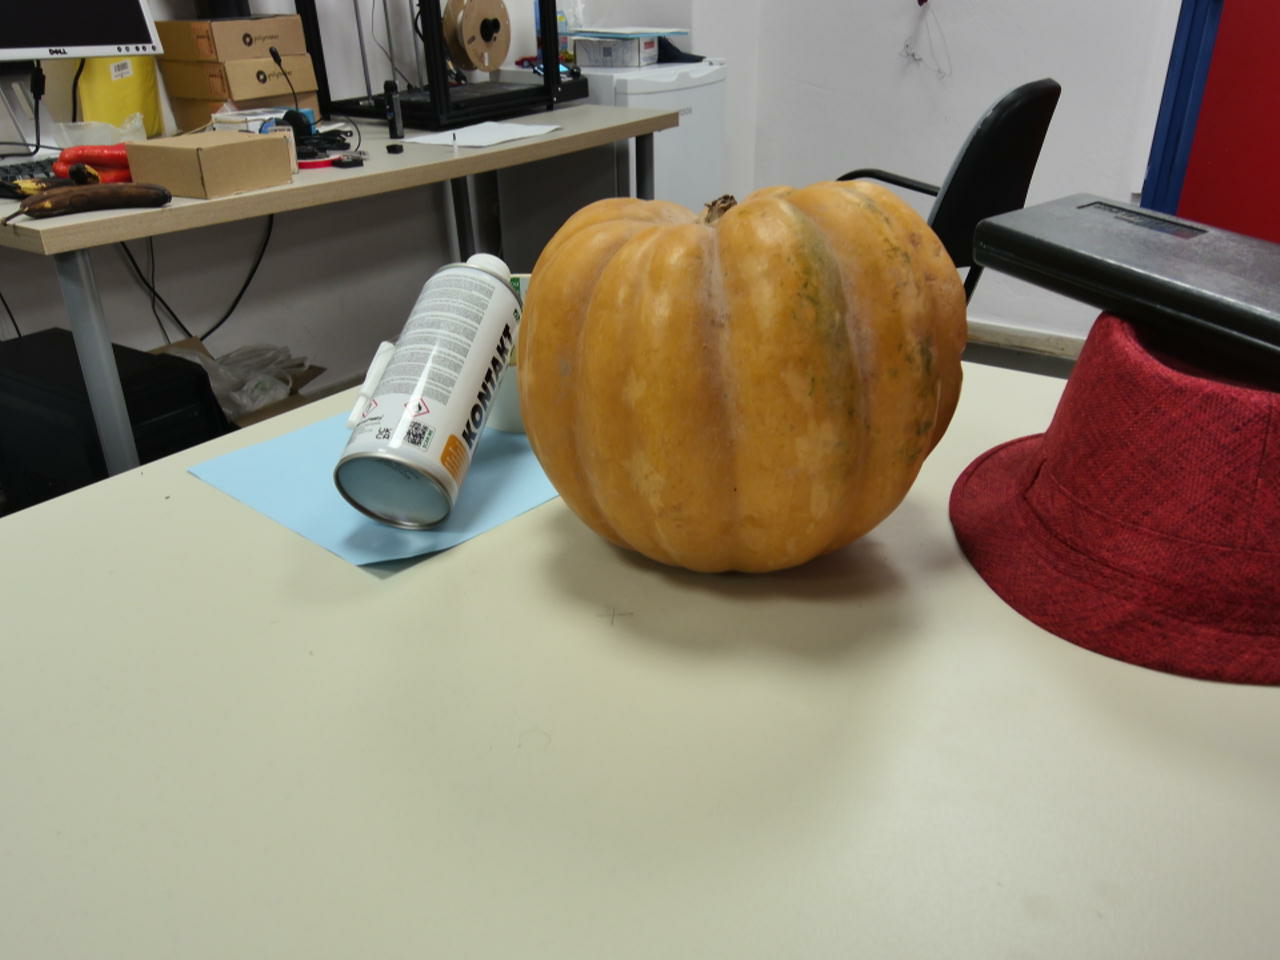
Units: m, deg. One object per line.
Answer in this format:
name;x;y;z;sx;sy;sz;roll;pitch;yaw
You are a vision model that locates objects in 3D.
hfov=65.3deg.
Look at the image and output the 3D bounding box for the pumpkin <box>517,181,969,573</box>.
pumpkin;0.049;-0.056;0.514;0.230;0.194;0.230;0;25;0
